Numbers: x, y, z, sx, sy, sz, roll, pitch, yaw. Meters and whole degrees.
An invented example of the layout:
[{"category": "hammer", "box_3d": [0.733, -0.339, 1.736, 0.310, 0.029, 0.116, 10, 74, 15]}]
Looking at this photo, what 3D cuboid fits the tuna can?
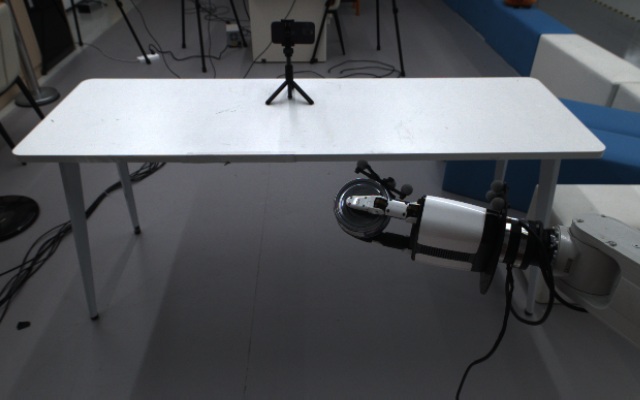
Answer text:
[{"category": "tuna can", "box_3d": [0.067, 0.017, 0.715, 0.085, 0.034, 0.085, -4, 69, 10]}]
